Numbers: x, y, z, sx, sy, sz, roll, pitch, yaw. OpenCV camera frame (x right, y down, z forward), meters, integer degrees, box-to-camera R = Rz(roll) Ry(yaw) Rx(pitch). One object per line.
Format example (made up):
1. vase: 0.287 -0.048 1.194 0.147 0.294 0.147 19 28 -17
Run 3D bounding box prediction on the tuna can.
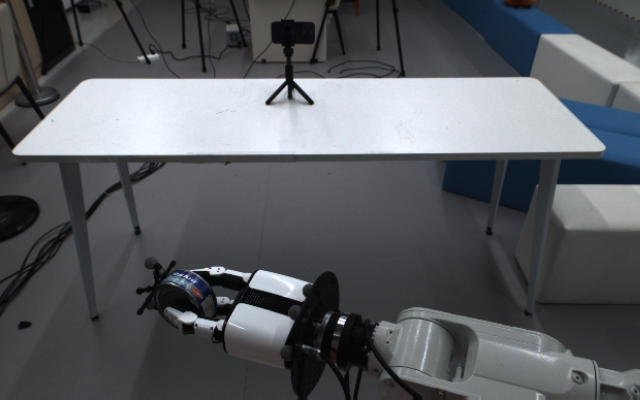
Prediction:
1. tuna can: -0.186 0.138 0.675 0.085 0.085 0.034 14 31 16
